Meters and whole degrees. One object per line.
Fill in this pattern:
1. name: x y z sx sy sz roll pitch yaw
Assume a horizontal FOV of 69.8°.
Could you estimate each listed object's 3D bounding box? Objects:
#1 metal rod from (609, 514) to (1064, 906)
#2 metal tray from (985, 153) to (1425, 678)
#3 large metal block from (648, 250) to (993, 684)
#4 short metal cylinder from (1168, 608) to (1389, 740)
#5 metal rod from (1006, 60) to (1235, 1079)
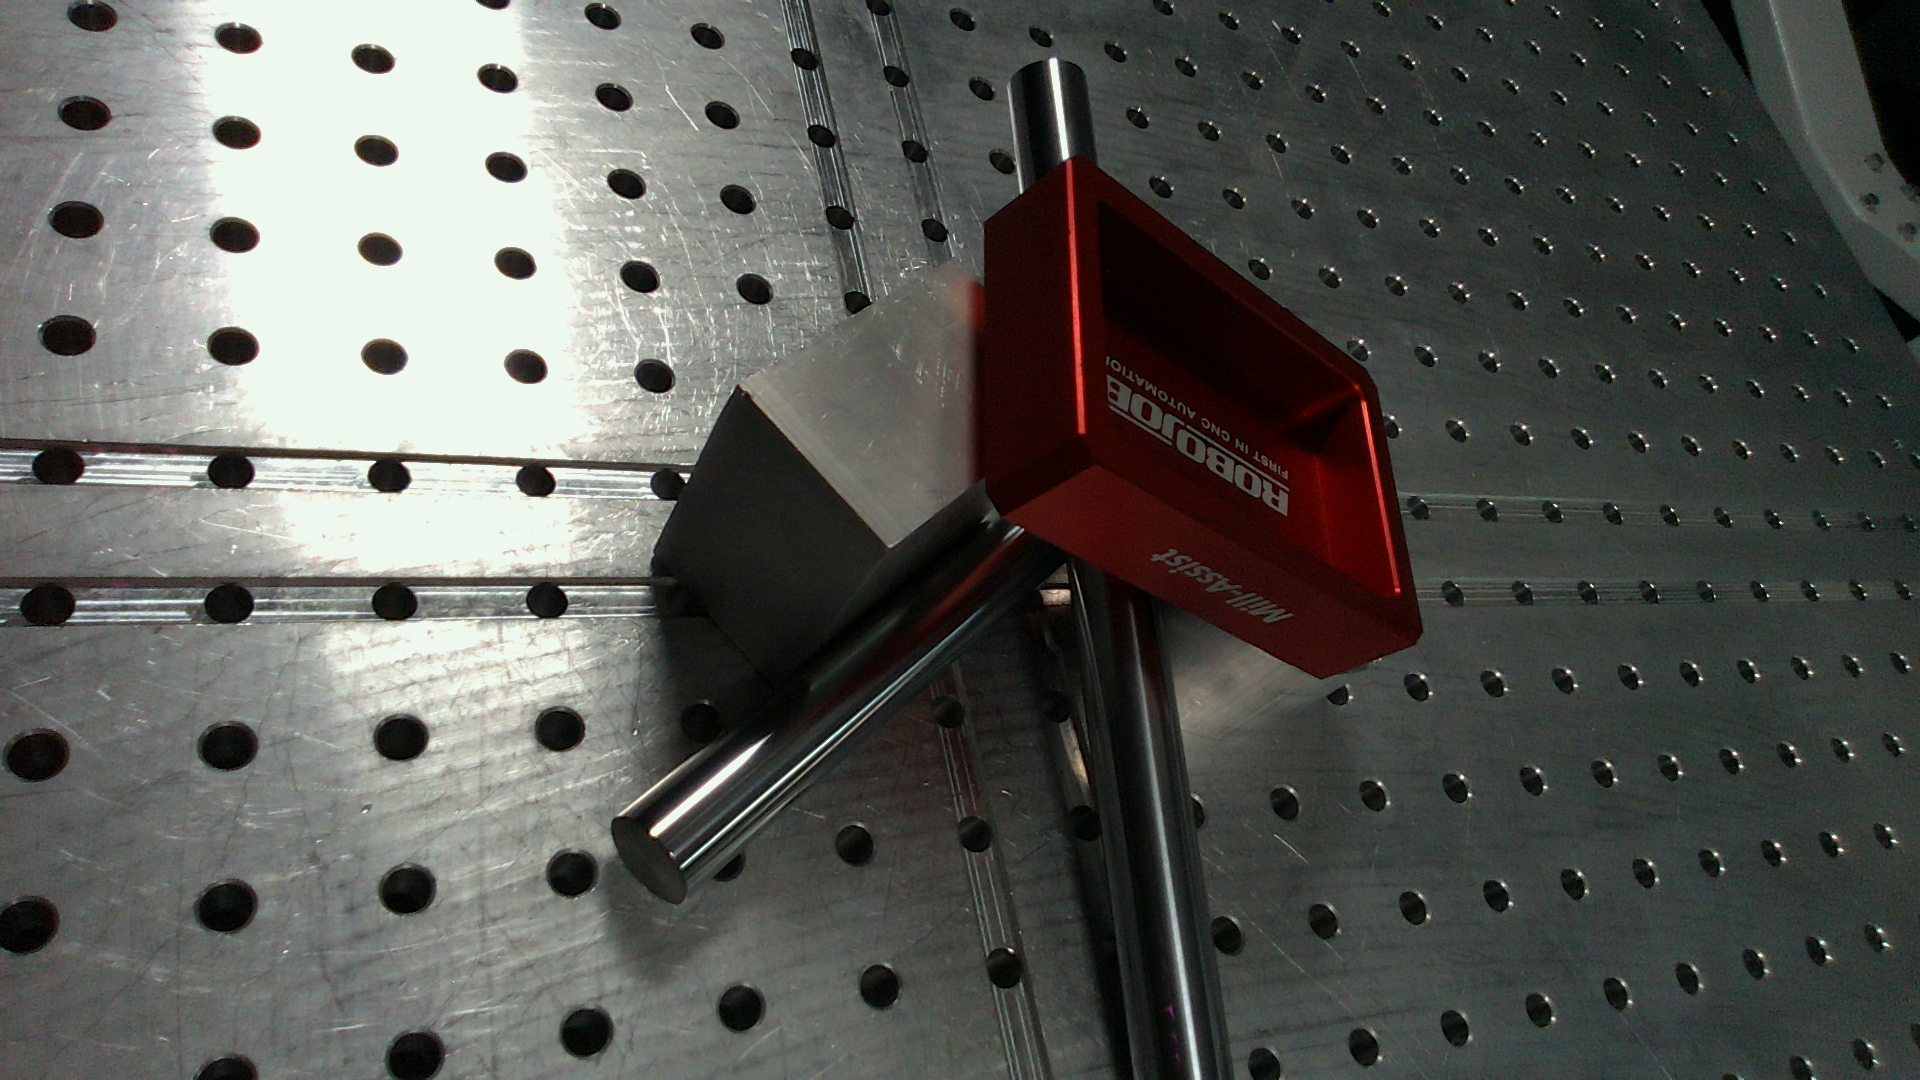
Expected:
1. metal rod: 0.021 -0.001 0.405 0.025 0.025 0.301 47 51 5
2. metal tray: 0.063 -0.028 0.350 0.130 0.030 0.090 26 50 -36
3. large metal block: -0.024 -0.017 0.354 0.050 0.080 0.080 47 51 5
4. short metal cylinder: 0.087 0.013 0.413 0.080 0.050 0.080 14 56 -21
5. metal rod: 0.042 -0.002 0.387 0.025 0.025 0.300 4 69 -26
